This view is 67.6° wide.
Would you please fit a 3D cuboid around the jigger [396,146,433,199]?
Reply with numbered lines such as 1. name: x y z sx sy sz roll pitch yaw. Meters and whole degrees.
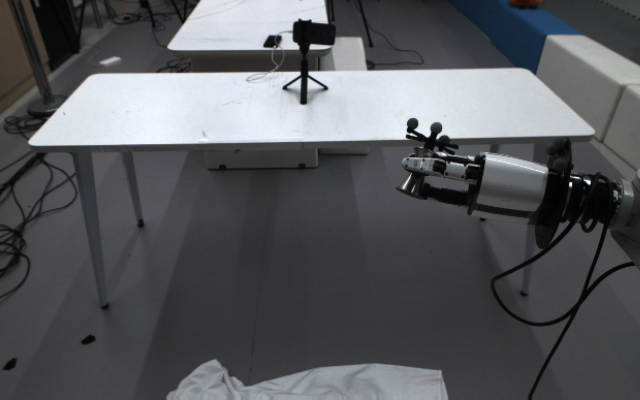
1. jigger: 0.143 -0.042 0.715 0.043 0.071 0.043 25 -3 1
